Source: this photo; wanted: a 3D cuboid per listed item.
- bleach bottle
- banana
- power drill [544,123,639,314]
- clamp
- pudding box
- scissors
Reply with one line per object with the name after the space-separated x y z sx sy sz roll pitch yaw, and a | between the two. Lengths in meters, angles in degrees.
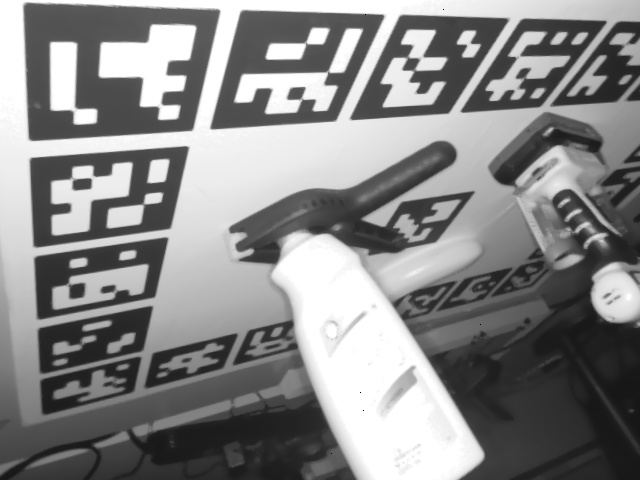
0.023 0.074 0.555 0.104 0.250 0.067 -23 154 -17 | bleach bottle
0.124 0.059 0.827 0.197 0.039 0.074 -28 166 4 | banana
0.300 -0.016 0.650 0.187 0.187 0.056 1 148 -41 | power drill
0.021 -0.022 0.614 0.205 0.037 0.163 -9 144 -23 | clamp
0.298 -0.031 0.777 0.115 0.090 0.038 -3 150 -32 | pudding box
0.326 0.023 0.754 0.205 0.016 0.086 19 124 -44 | scissors
